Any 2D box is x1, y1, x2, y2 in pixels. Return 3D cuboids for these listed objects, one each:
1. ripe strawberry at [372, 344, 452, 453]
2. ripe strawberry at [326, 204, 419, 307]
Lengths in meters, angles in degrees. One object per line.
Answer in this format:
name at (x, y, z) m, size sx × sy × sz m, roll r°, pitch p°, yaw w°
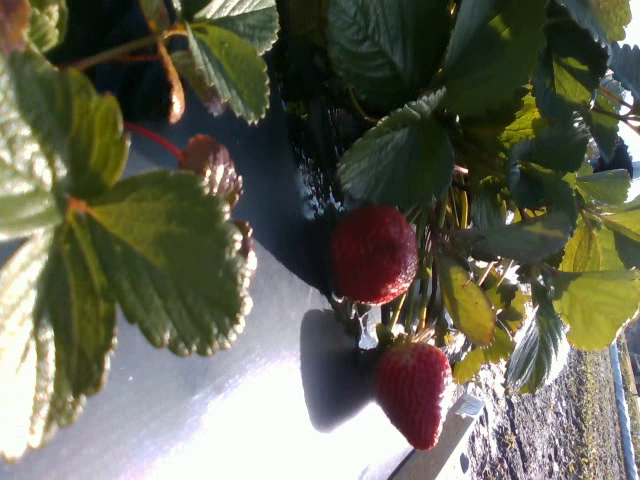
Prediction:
ripe strawberry at (0.046, 0.072, 0.264) m, size 0.038 × 0.053 × 0.043 m, roll -7°, pitch -40°, yaw -3°
ripe strawberry at (0.025, 0.008, 0.244) m, size 0.039 × 0.048 × 0.054 m, roll 27°, pitch -7°, yaw -1°
